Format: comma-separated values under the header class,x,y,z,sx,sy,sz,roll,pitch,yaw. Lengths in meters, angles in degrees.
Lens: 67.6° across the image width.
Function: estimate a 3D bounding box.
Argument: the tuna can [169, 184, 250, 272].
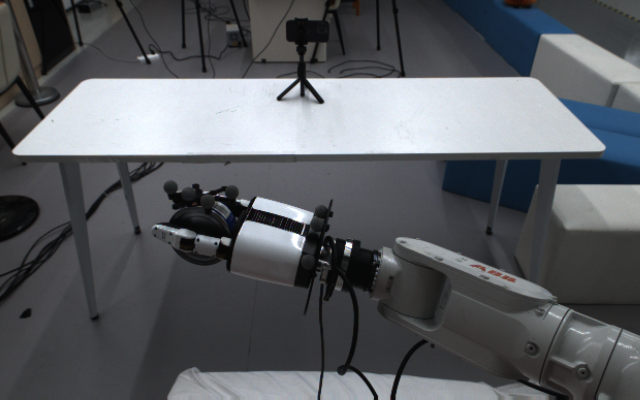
class,x,y,z,sx,sy,sz,roll,pitch,yaw
tuna can,-0.150,0.042,0.634,0.085,0.085,0.034,6,22,5
